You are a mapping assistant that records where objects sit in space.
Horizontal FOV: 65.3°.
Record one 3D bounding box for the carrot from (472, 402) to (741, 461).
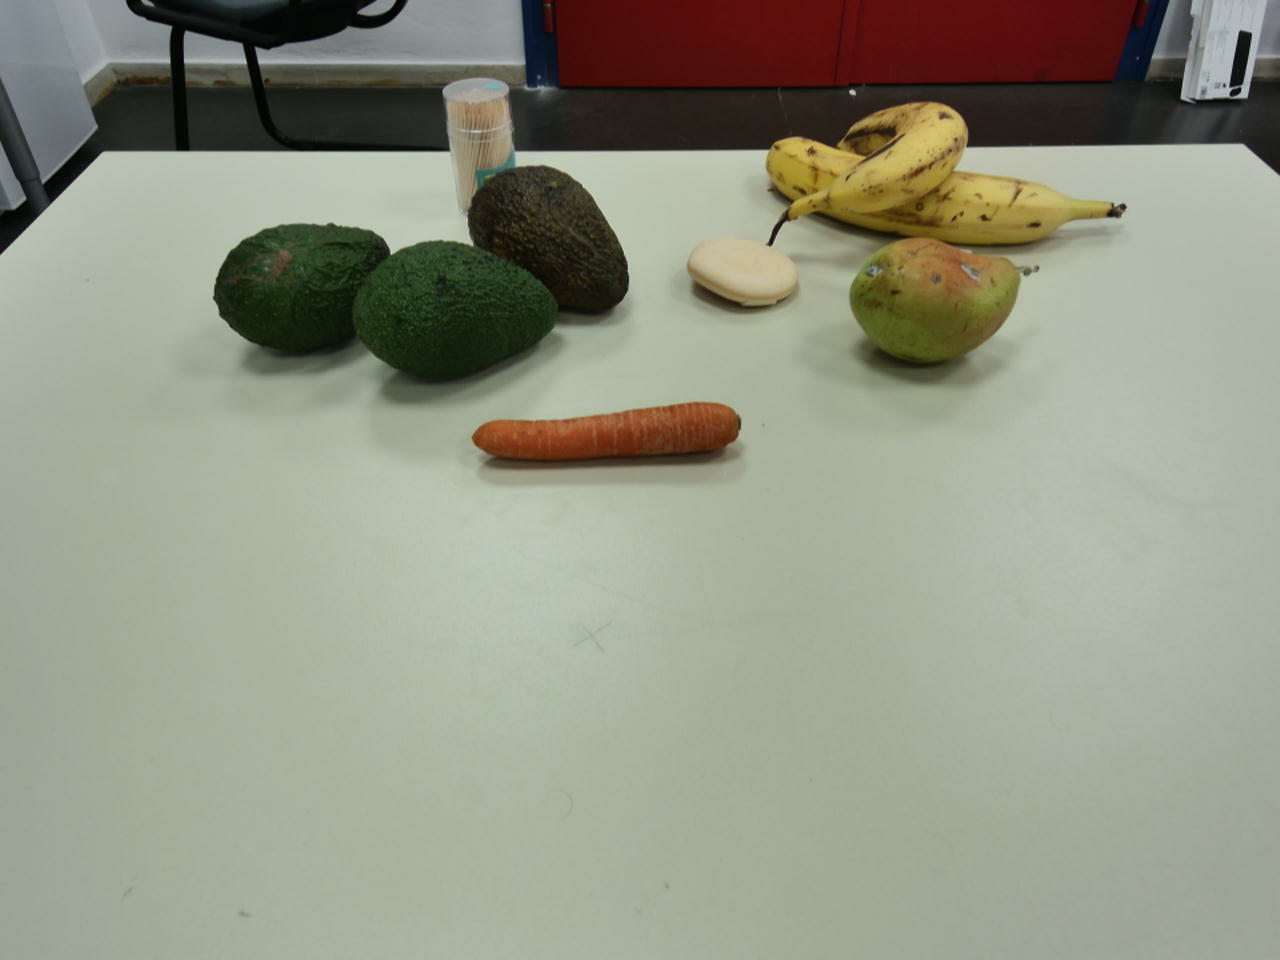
[{"bbox_3d":[-0.014,-0.022,0.456,0.122,0.023,0.024,-2,38,-2],"label":"carrot"}]
